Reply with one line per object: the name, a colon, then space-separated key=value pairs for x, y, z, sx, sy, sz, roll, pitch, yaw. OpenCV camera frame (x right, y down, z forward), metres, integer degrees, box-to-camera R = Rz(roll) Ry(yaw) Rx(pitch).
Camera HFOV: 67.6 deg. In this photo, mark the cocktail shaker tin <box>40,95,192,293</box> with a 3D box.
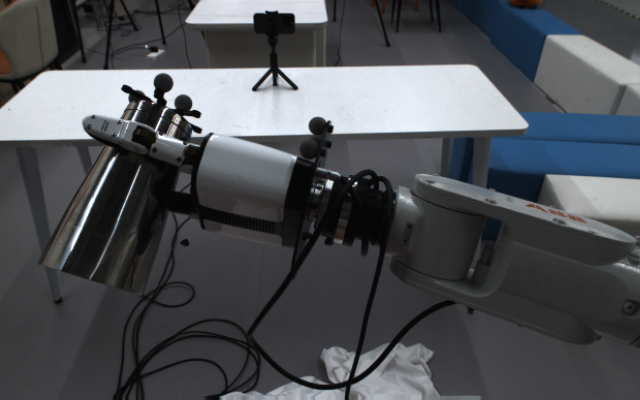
cocktail shaker tin: x=-0.181 y=-0.005 z=0.463 sx=0.093 sy=0.093 sz=0.170 roll=12 pitch=72 yaw=14
